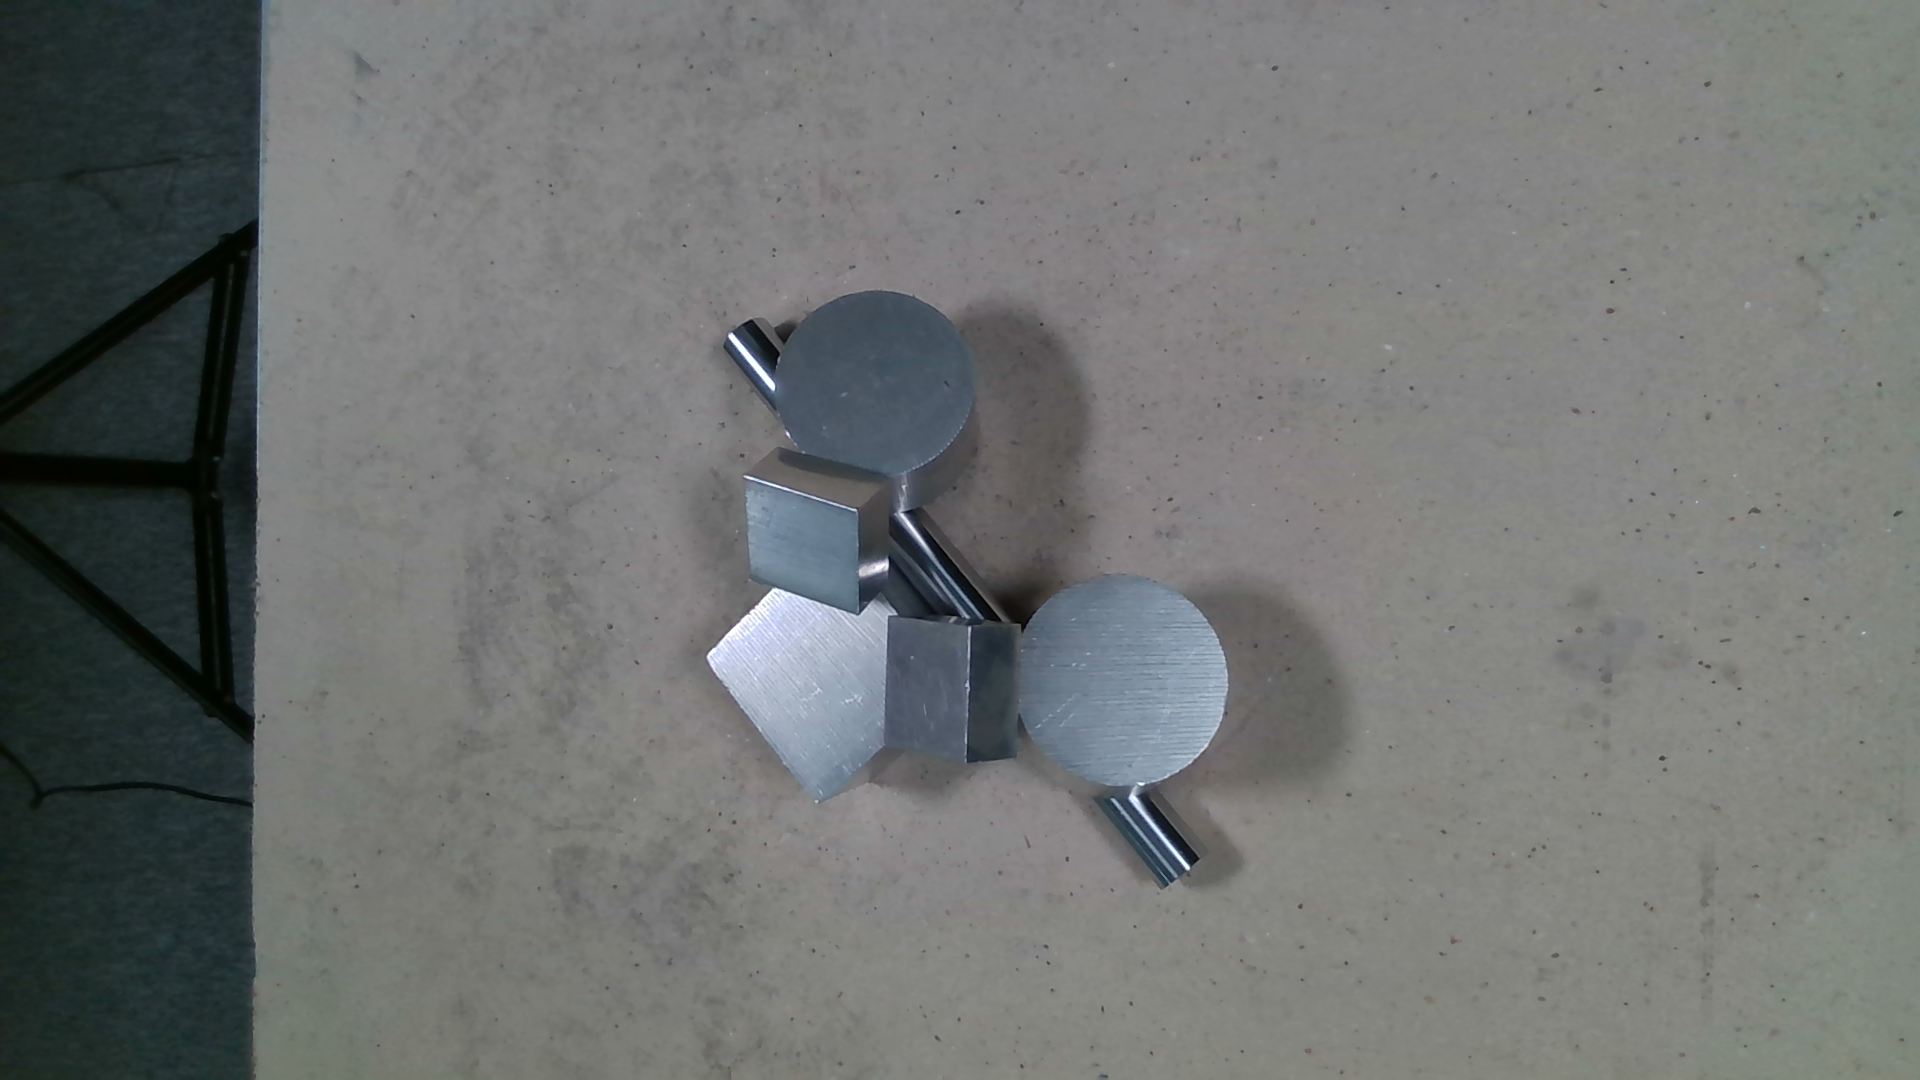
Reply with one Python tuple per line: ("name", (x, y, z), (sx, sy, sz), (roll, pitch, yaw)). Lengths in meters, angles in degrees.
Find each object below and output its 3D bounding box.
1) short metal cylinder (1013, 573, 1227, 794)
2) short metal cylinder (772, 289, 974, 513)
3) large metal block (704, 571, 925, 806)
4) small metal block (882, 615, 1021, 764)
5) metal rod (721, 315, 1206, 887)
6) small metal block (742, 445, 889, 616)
("short metal cylinder", (0.060, 0.058, 0.535), (0.080, 0.050, 0.080), (0, 75, 2))
("short metal cylinder", (-0.034, -0.056, 0.569), (0.080, 0.050, 0.080), (0, 75, 2))
("large metal block", (-0.047, 0.053, 0.589), (0.080, 0.050, 0.080), (-43, 77, 15))
("small metal block", (-0.004, 0.055, 0.521), (0.050, 0.025, 0.050), (3, 92, 51))
("metal rod", (-0.004, 0.020, 0.587), (0.025, 0.025, 0.300), (-43, 77, 15))
("small metal block", (-0.056, -0.004, 0.540), (0.050, 0.025, 0.050), (17, 128, 20))
